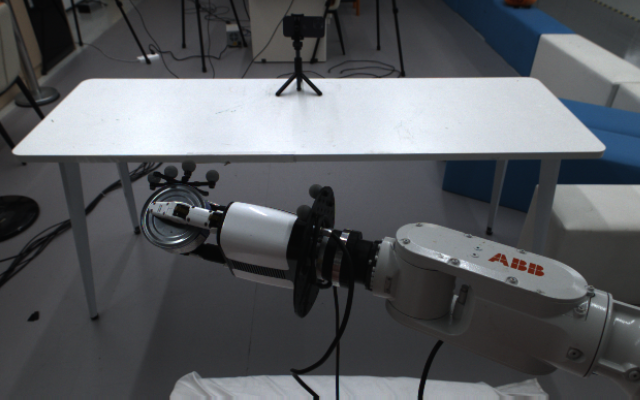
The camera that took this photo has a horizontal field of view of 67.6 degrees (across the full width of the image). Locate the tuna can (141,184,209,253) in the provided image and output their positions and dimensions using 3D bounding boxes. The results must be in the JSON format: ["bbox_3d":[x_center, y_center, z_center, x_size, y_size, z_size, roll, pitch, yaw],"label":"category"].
[{"bbox_3d":[-0.177,0.026,0.619,0.085,0.034,0.085,-2,69,6],"label":"tuna can"}]
